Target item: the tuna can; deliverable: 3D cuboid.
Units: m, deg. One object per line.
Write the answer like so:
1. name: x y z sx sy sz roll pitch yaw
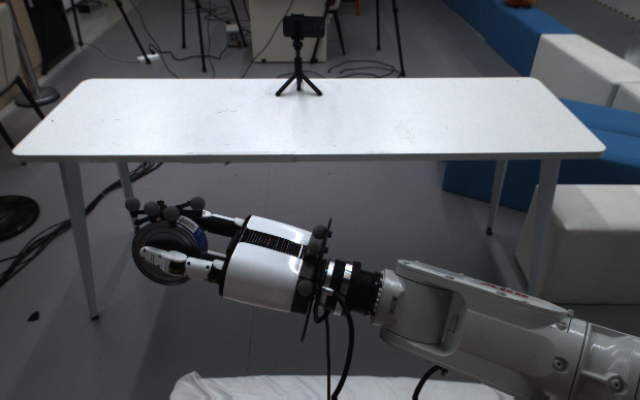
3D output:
1. tuna can: -0.179 0.062 0.598 0.085 0.085 0.034 4 17 3
